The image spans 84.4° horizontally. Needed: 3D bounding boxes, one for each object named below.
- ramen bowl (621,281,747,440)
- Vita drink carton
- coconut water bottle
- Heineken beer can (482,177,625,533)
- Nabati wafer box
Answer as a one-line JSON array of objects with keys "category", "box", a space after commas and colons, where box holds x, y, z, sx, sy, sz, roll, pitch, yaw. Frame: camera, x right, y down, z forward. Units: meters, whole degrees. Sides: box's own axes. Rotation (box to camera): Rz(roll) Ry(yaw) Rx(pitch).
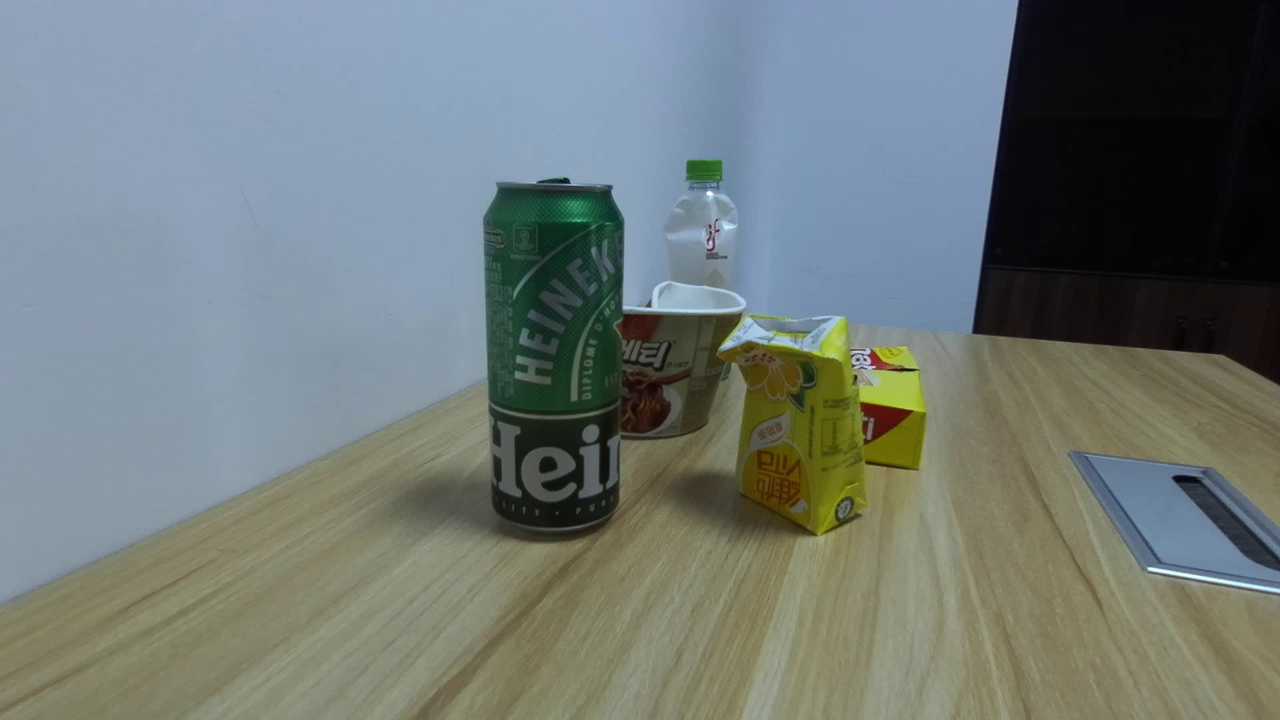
[{"category": "ramen bowl", "box": [0.004, -0.002, 0.508, 0.137, 0.098, 0.137, 0, 17, 0]}, {"category": "Vita drink carton", "box": [0.078, 0.031, 0.370, 0.042, 0.108, 0.086, -23, 22, -28]}, {"category": "coconut water bottle", "box": [0.053, -0.076, 0.611, 0.069, 0.186, 0.069, -1, 12, 0]}, {"category": "Heineken beer can", "box": [-0.041, 0.000, 0.351, 0.067, 0.169, 0.067, 1, 13, 0]}, {"category": "Nabati wafer box", "box": [0.157, 0.023, 0.541, 0.106, 0.042, 0.204, 8, 14, 16]}]
